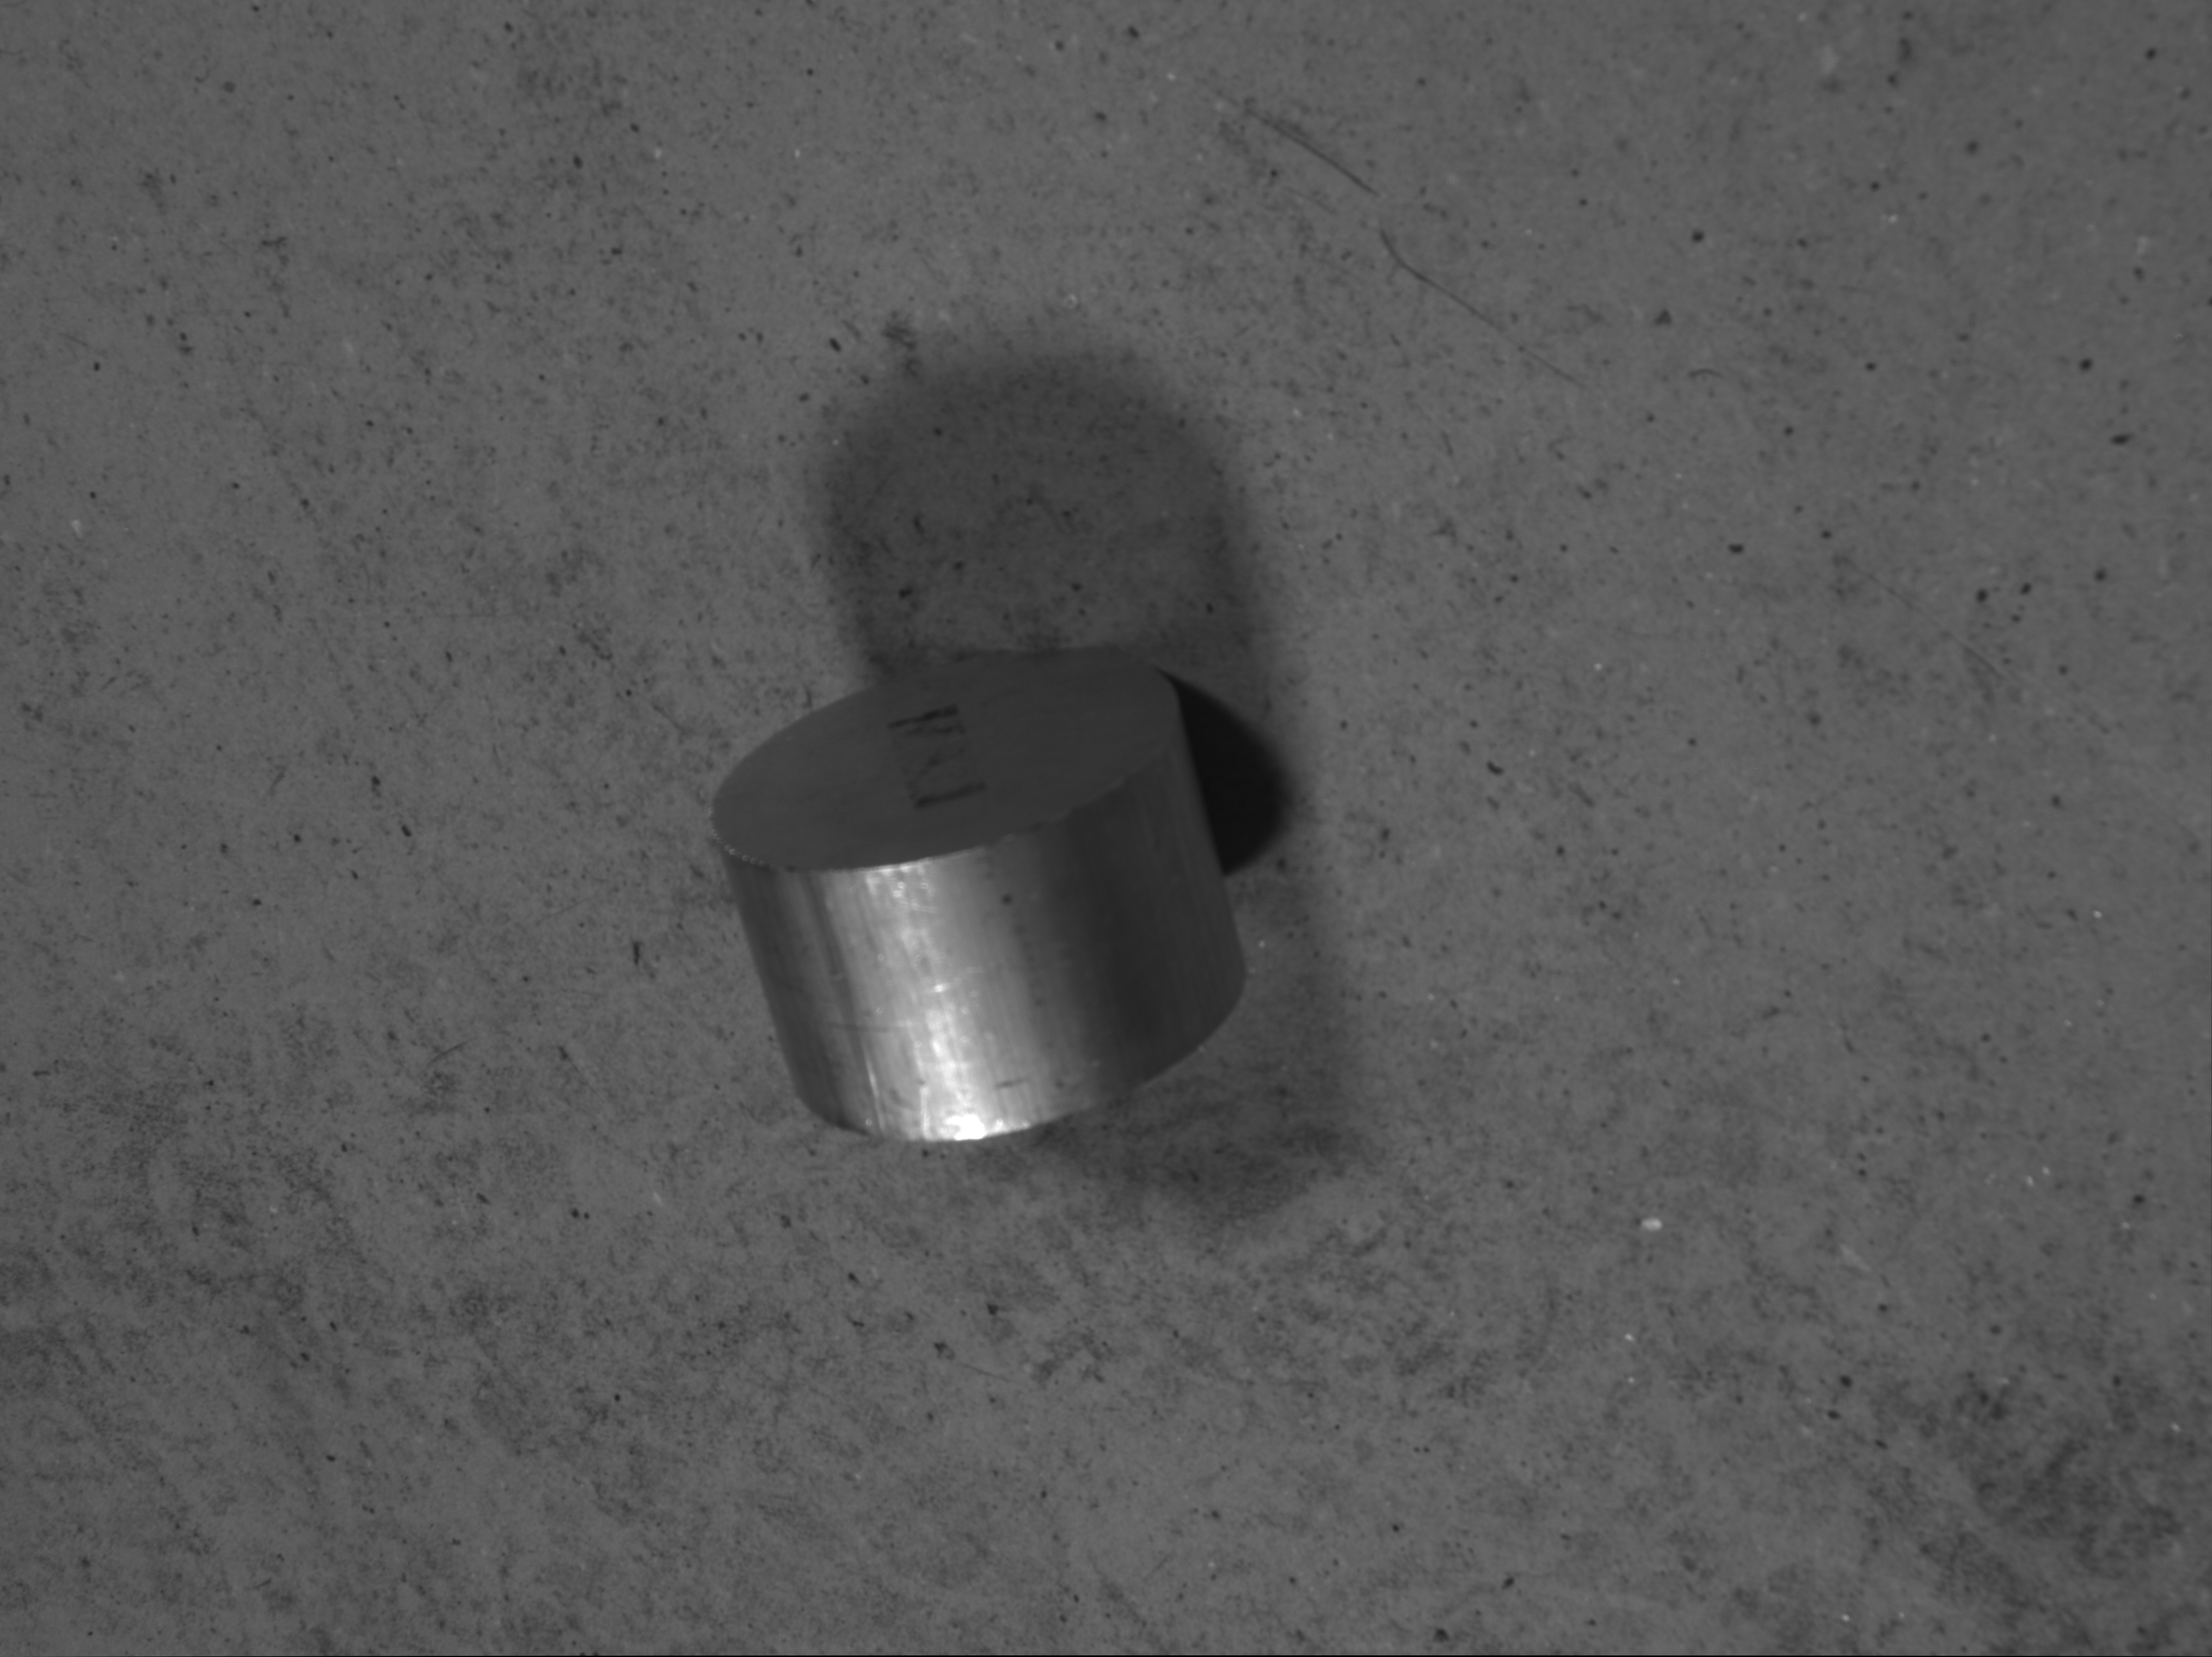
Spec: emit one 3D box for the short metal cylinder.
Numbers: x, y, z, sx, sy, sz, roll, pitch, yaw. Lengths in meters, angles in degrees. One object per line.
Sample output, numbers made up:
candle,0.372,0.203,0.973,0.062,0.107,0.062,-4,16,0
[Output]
short metal cylinder,-0.024,0.010,0.615,0.080,0.080,0.050,-1,118,27
